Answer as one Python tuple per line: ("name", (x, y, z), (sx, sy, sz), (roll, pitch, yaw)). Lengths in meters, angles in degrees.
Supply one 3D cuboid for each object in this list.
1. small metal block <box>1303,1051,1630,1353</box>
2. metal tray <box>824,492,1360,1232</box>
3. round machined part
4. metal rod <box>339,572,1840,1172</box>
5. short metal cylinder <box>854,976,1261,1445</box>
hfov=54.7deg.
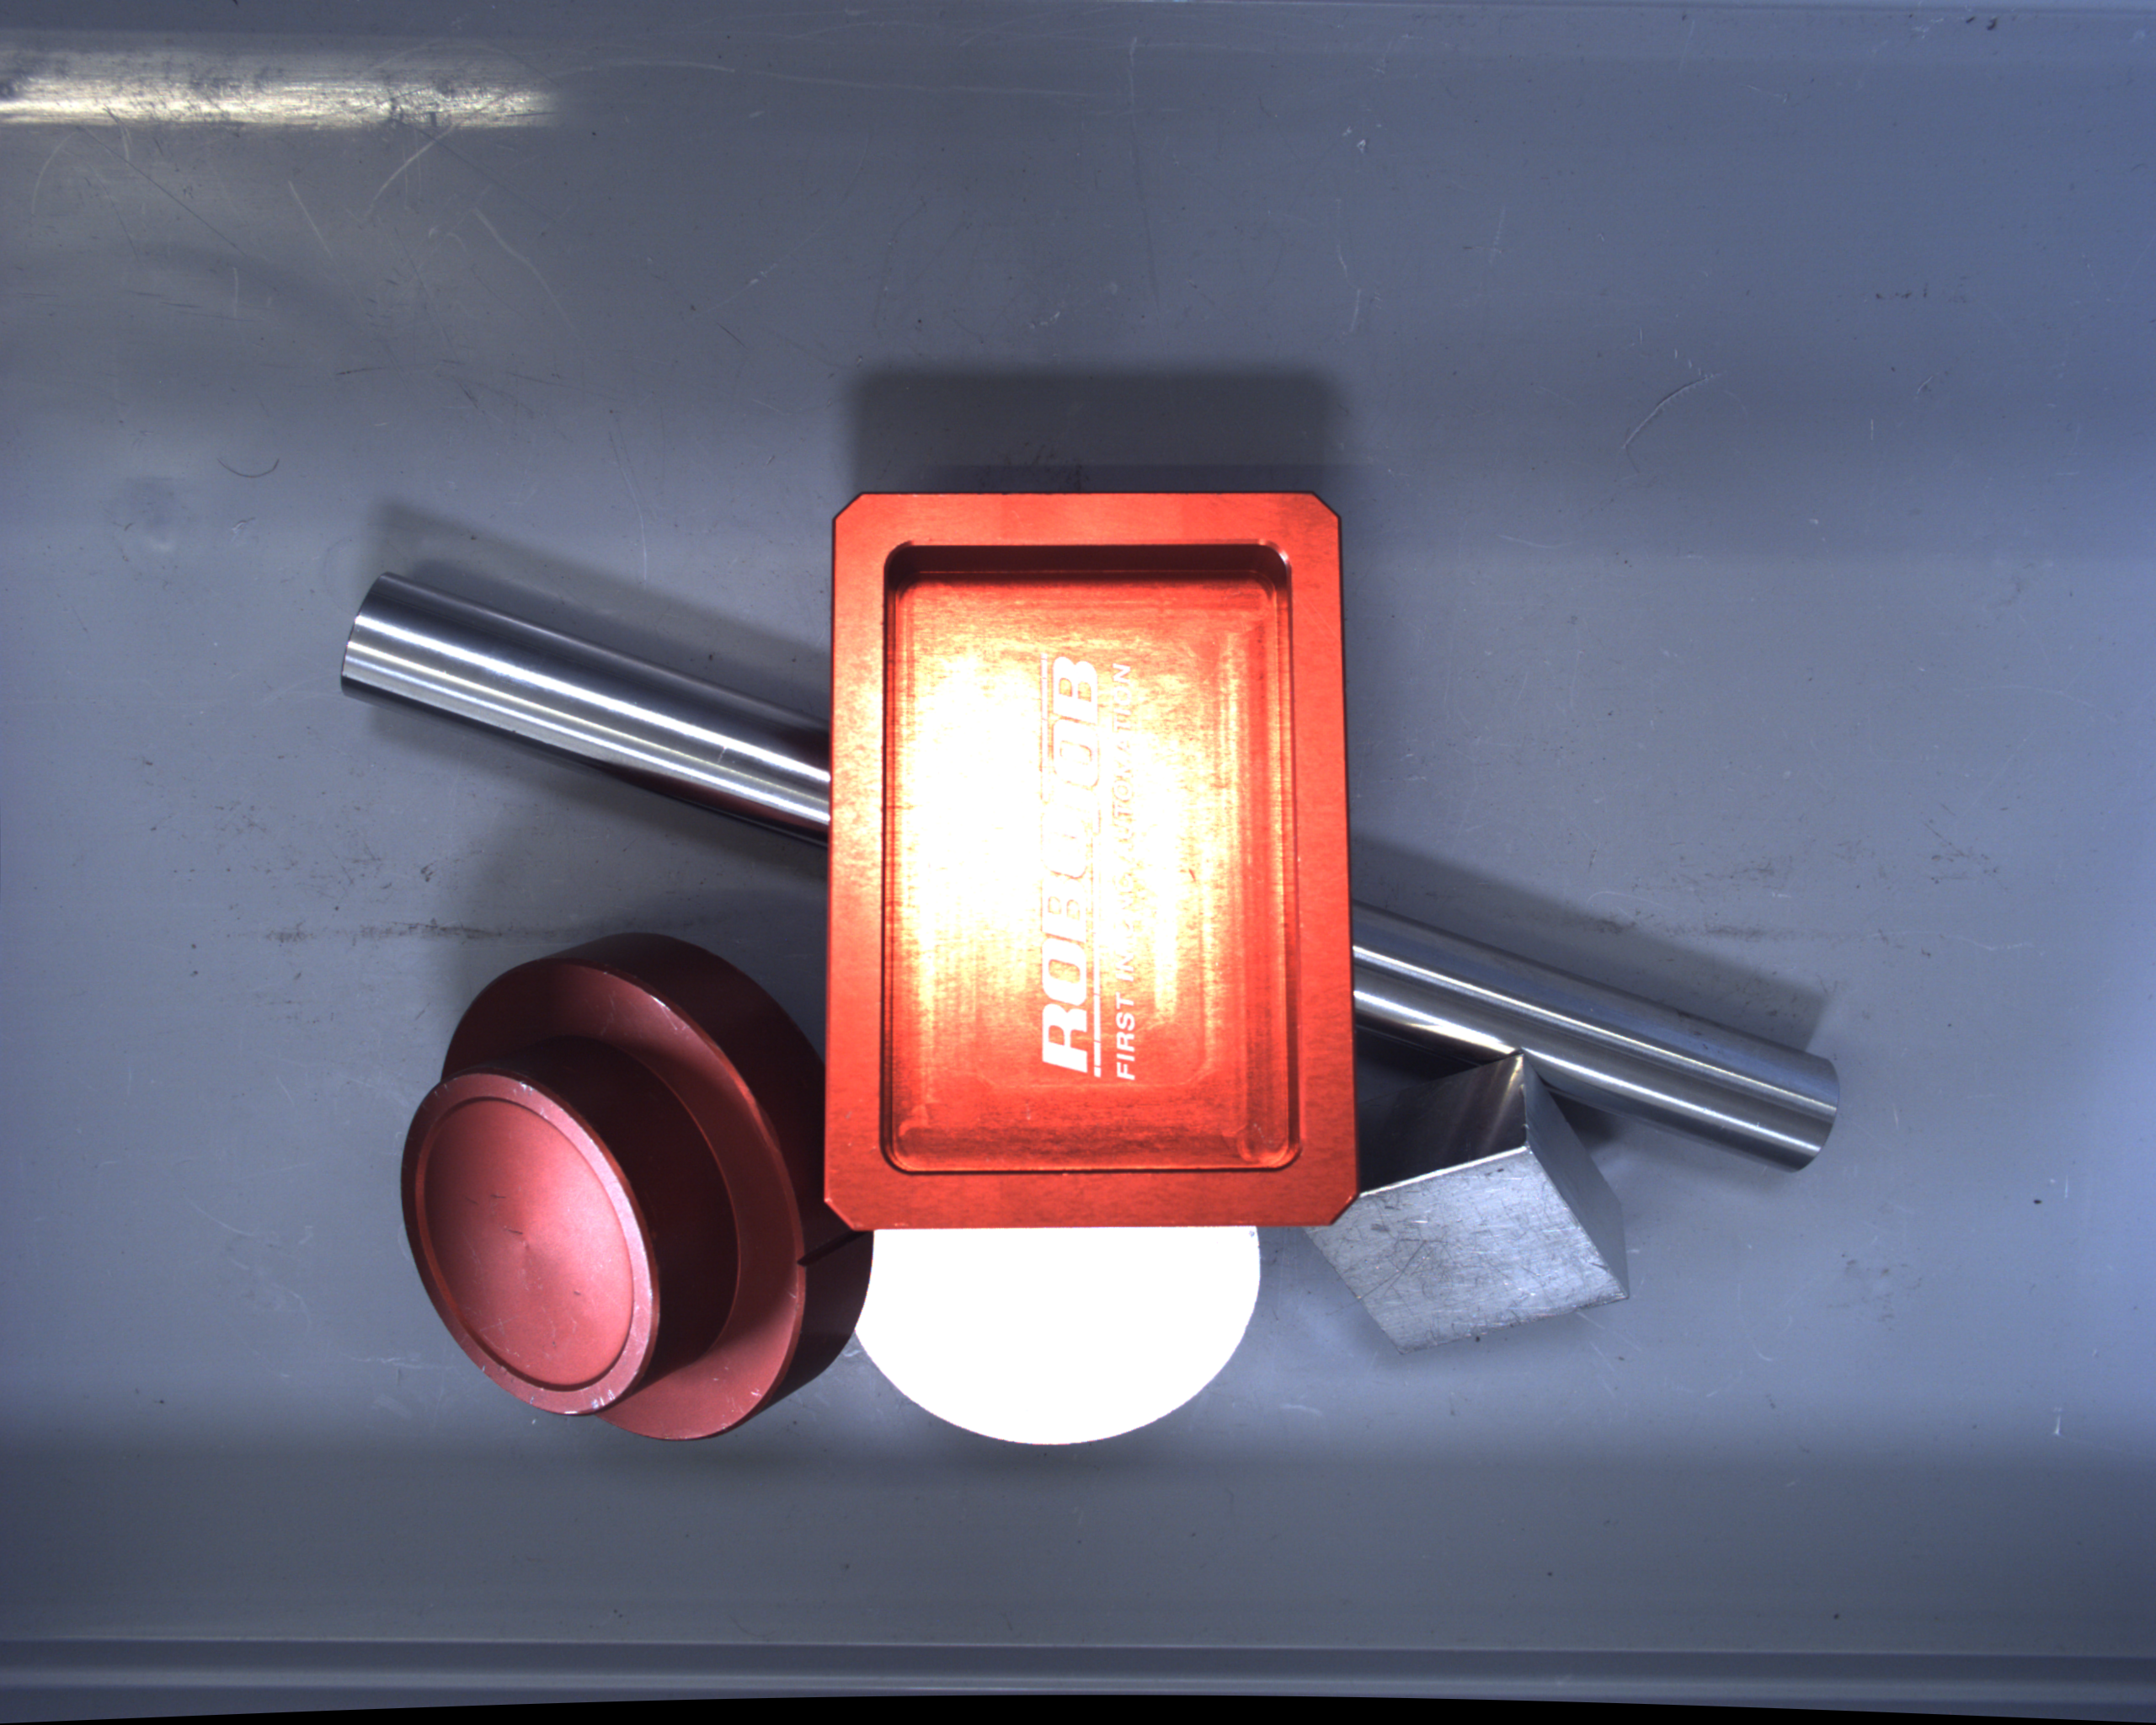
("small metal block", (0.078, 0.070, 0.424), (0.050, 0.025, 0.050), (-21, 126, 24))
("metal tray", (0.002, 0.000, 0.375), (0.091, 0.030, 0.129), (0, 81, -1))
("round machined part", (-0.090, 0.066, 0.399), (0.098, 0.042, 0.097), (9, 107, 31))
("metal rod", (0.008, 0.005, 0.411), (0.302, 0.025, 0.025), (18, 109, -7))
("short metal cylinder", (-0.005, 0.069, 0.421), (0.081, 0.050, 0.079), (0, 110, 0))
